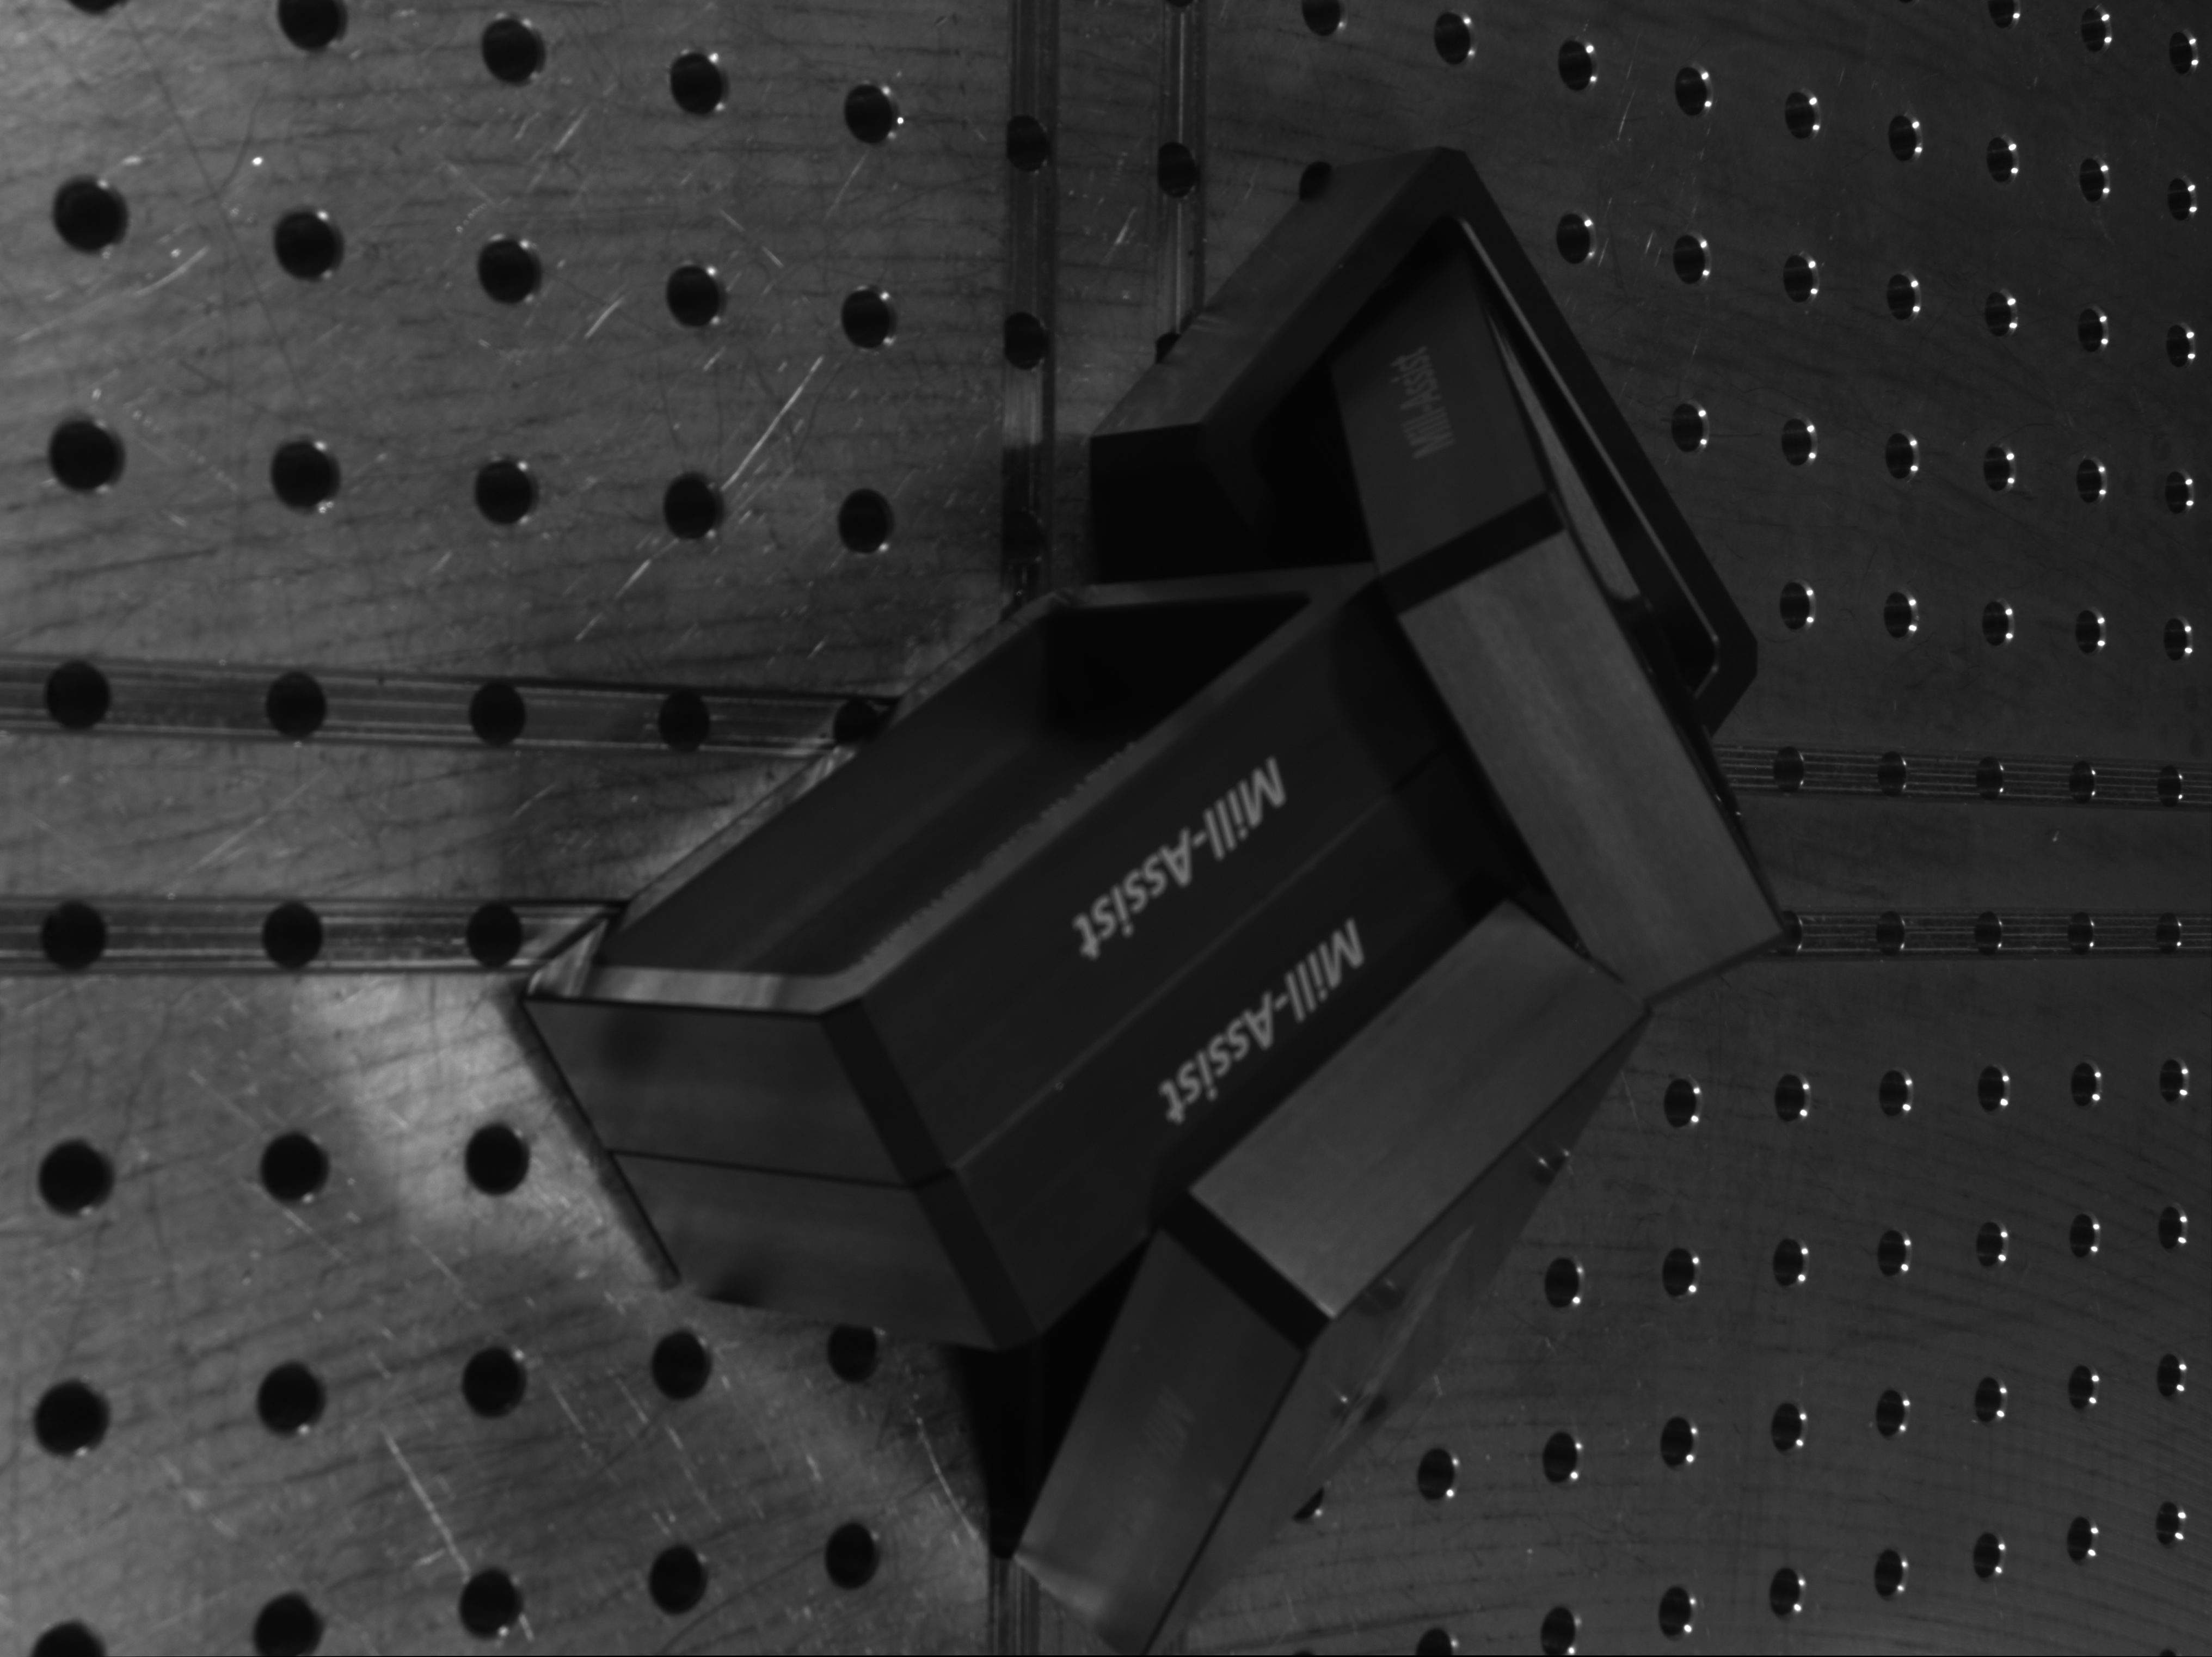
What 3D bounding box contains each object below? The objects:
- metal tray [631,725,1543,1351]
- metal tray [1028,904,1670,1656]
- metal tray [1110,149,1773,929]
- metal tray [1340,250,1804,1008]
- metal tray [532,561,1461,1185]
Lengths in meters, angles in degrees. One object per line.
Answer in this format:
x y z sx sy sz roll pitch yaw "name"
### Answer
-0.002 0.029 0.594 0.130 0.090 0.030 -40 114 -33 "metal tray"
0.038 0.079 0.612 0.030 0.130 0.090 41 56 15 "metal tray"
0.067 -0.050 0.691 0.090 0.030 0.130 -51 120 -28 "metal tray"
0.078 -0.037 0.631 0.090 0.030 0.130 58 13 -24 "metal tray"
-0.017 0.004 0.584 0.130 0.090 0.030 -40 114 -33 "metal tray"
